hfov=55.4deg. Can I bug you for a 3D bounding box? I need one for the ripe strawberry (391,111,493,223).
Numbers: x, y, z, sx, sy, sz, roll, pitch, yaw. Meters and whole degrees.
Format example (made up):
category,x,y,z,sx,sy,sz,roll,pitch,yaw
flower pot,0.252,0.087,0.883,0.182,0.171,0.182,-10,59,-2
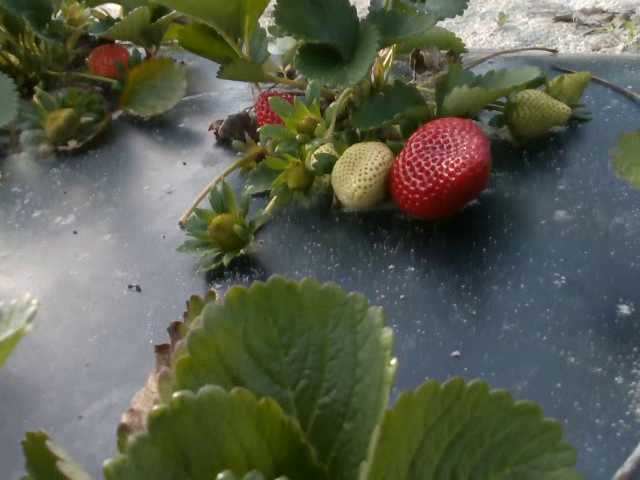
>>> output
category,x,y,z,sx,sy,sz,roll,pitch,yaw
ripe strawberry,0.052,-0.030,0.254,0.048,0.051,0.055,34,6,-5
